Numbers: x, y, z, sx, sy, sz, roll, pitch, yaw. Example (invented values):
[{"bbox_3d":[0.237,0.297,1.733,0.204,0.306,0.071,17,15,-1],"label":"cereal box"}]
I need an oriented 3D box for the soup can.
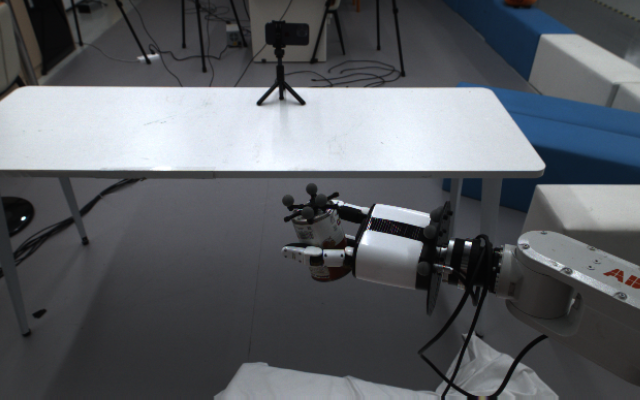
[{"bbox_3d":[0.005,0.059,0.703,0.067,0.101,0.067,-16,23,7],"label":"soup can"}]
